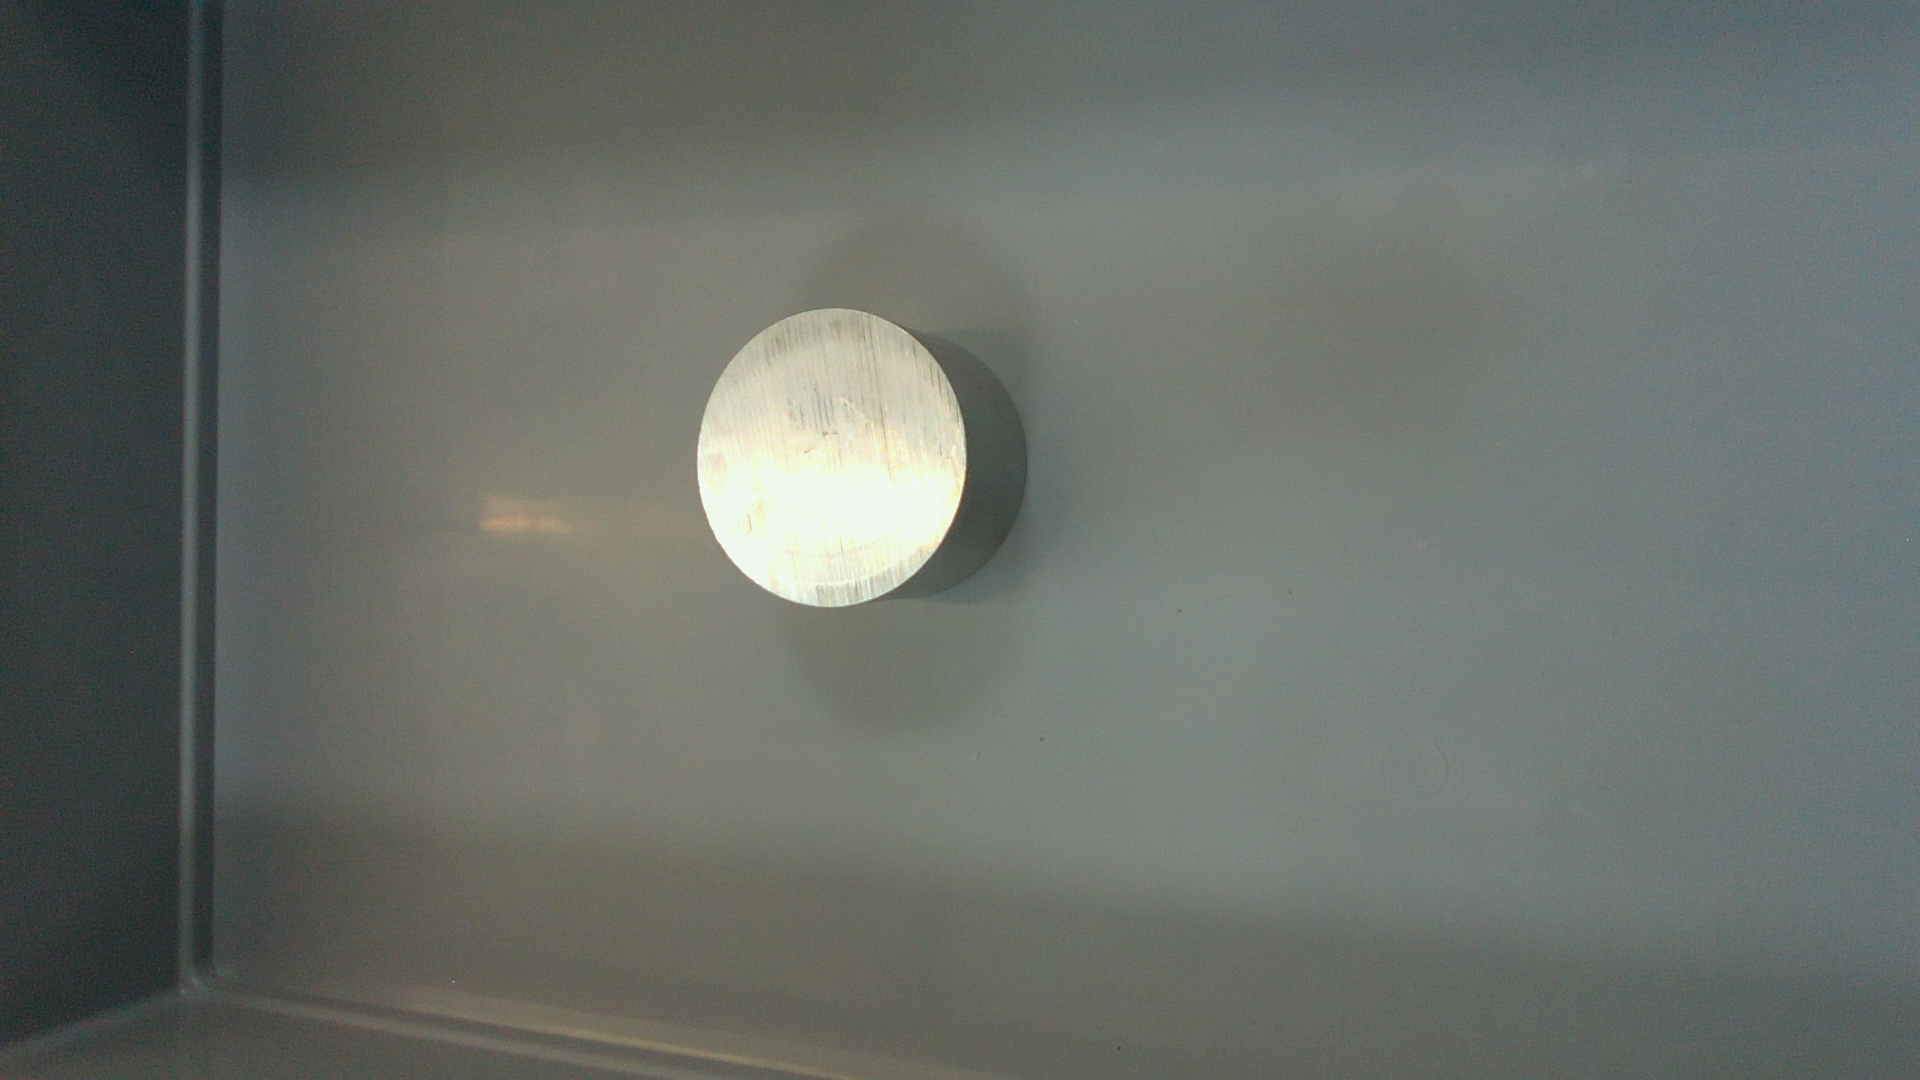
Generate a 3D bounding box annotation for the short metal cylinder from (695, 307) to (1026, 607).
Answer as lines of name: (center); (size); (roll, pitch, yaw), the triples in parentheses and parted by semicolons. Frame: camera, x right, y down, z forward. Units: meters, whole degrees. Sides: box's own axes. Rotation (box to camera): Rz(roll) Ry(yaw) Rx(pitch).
short metal cylinder: (-0.027, -0.022, 0.390); (0.080, 0.050, 0.080); (0, 90, 20)
